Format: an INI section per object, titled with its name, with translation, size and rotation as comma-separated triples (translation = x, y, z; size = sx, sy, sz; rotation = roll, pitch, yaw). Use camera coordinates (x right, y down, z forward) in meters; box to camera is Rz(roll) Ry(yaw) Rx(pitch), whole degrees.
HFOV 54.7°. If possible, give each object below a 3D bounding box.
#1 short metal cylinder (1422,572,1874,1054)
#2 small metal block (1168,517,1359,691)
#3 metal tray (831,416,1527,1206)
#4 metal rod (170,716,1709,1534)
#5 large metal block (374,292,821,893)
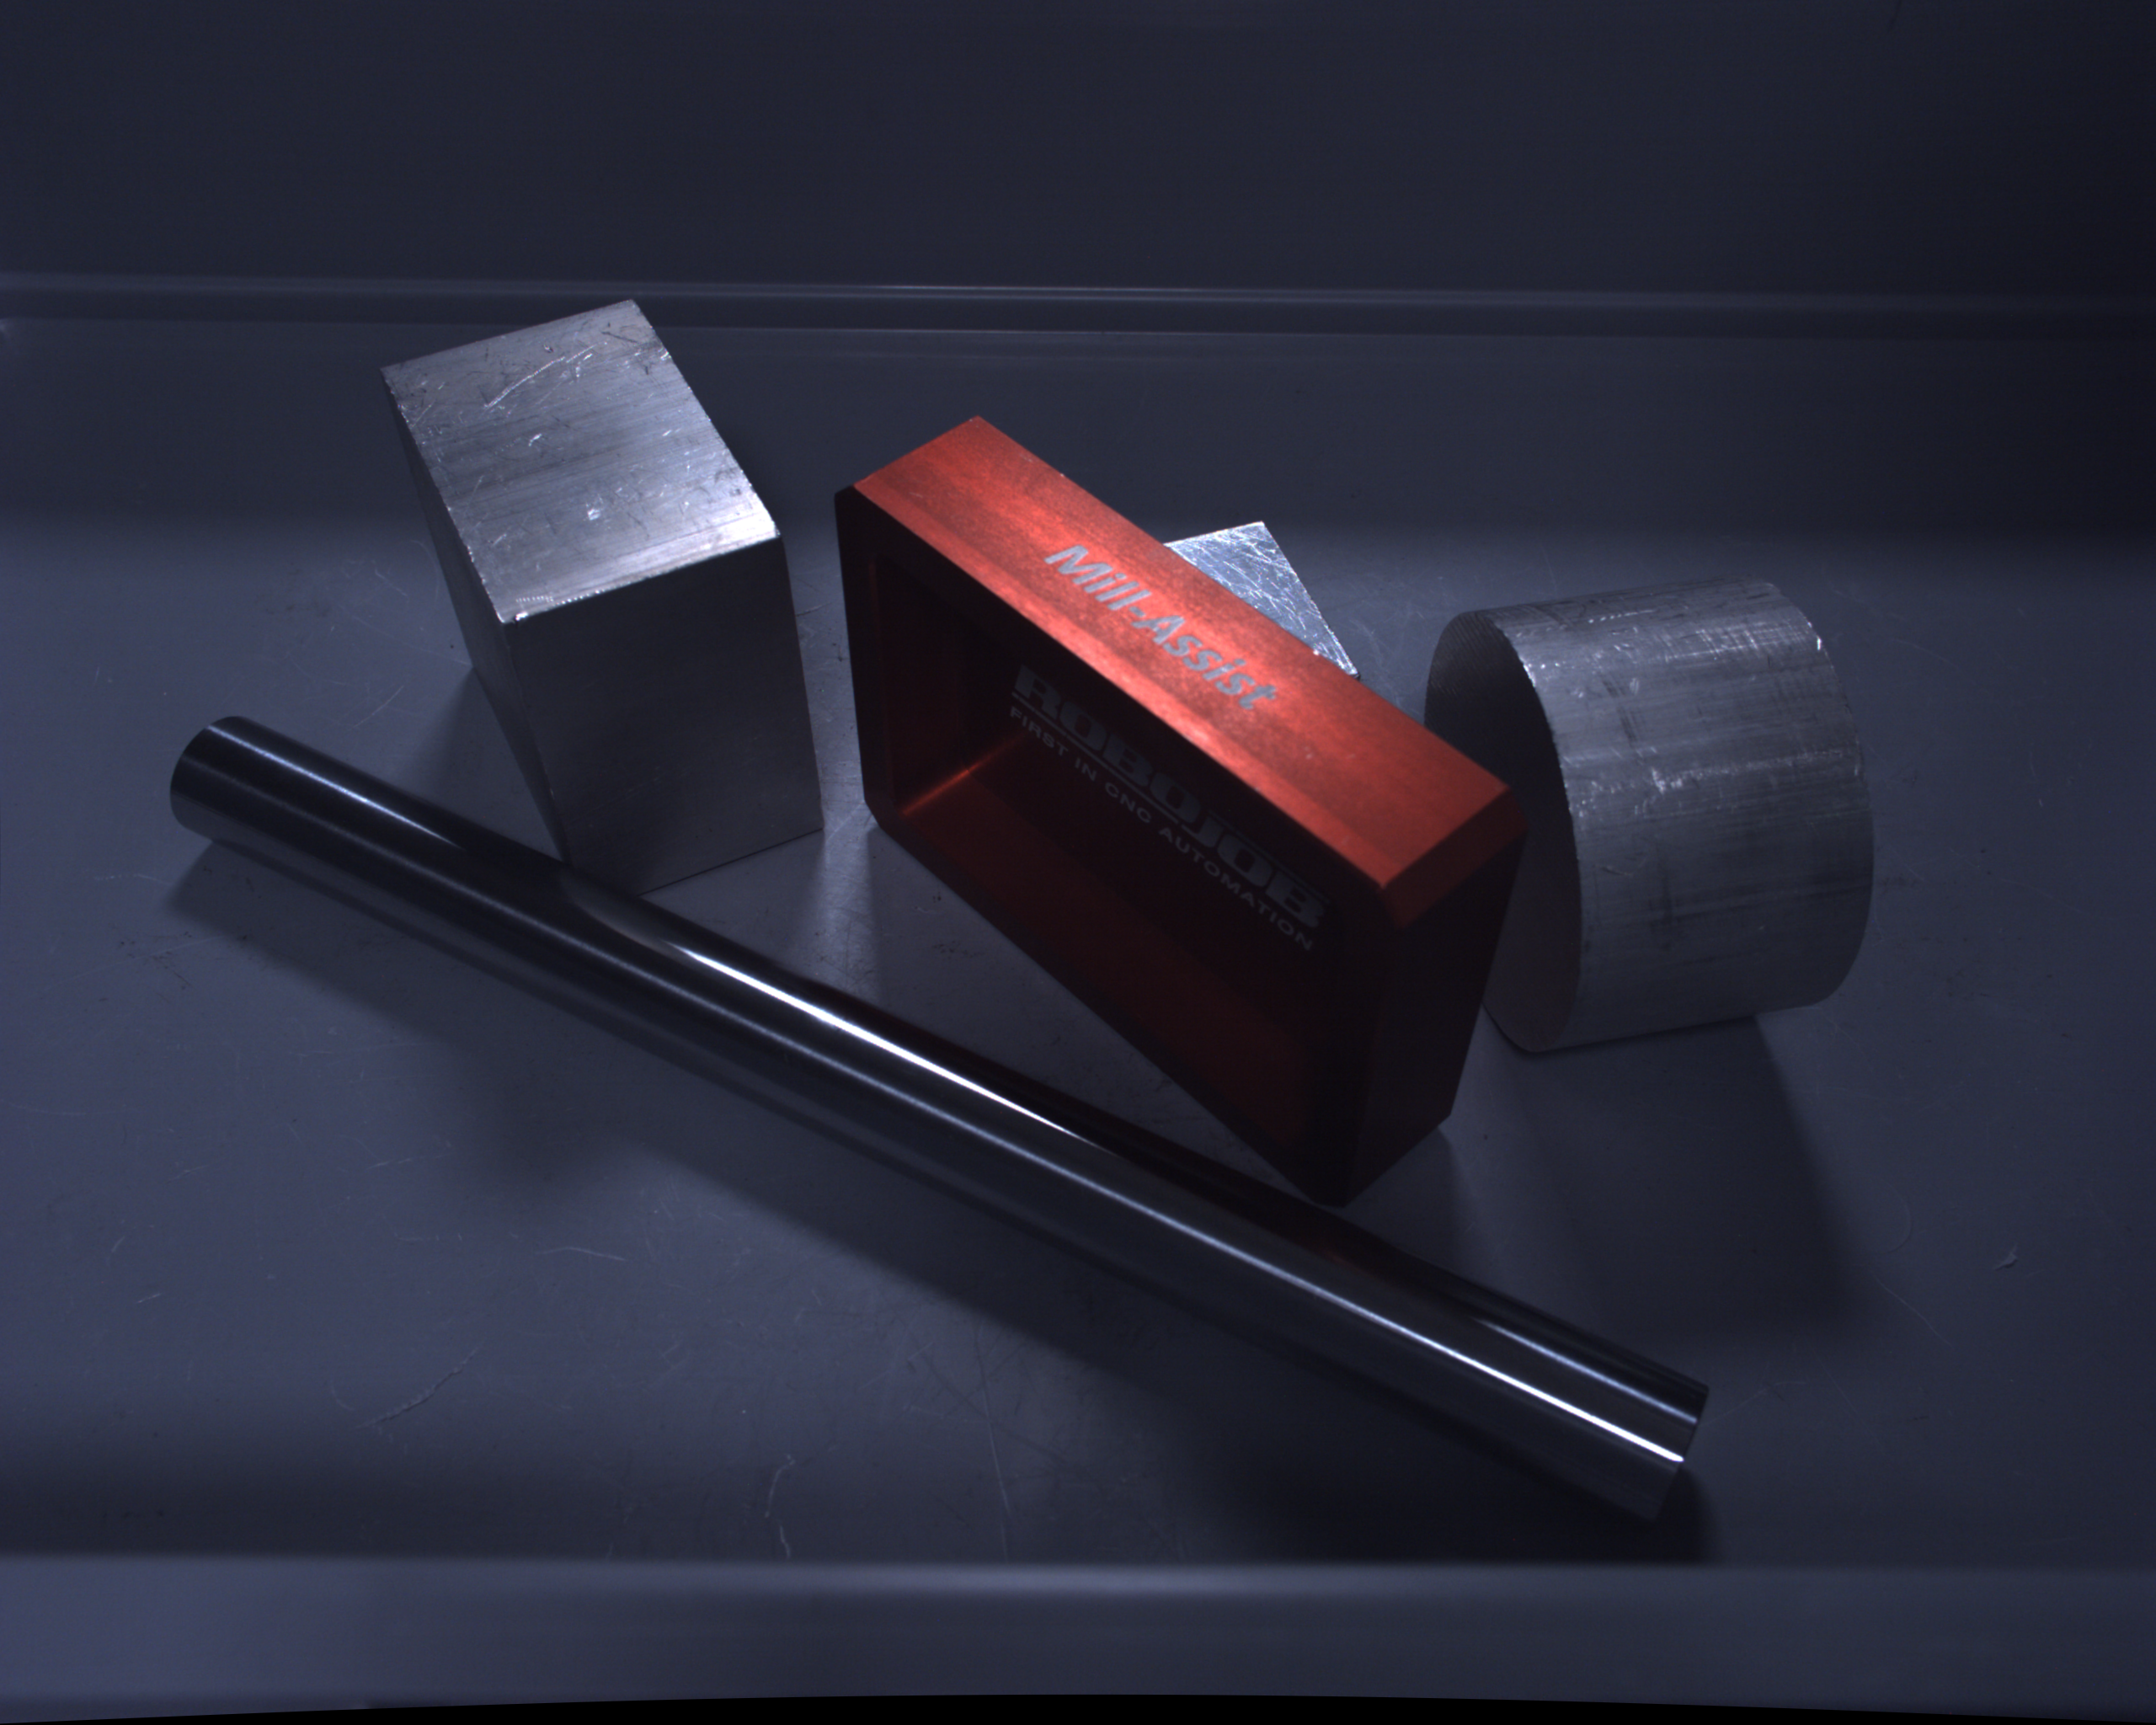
[short metal cylinder]
translation = 0.099, -0.009, 0.376
size = 0.050, 0.080, 0.080
rotation = -10, 51, -7
[small metal block]
translation = 0.024, -0.042, 0.437
size = 0.050, 0.025, 0.050
rotation = -15, 52, -13
[metal tray]
translation = 0.012, -0.009, 0.368
size = 0.030, 0.089, 0.130
rotation = -36, 59, -27
[metal rod]
translation = -0.039, 0.038, 0.371
size = 0.301, 0.025, 0.025
rotation = 23, 54, 17
[large metal block]
translation = -0.093, -0.050, 0.409
size = 0.050, 0.080, 0.080
rotation = -21, 53, -17
